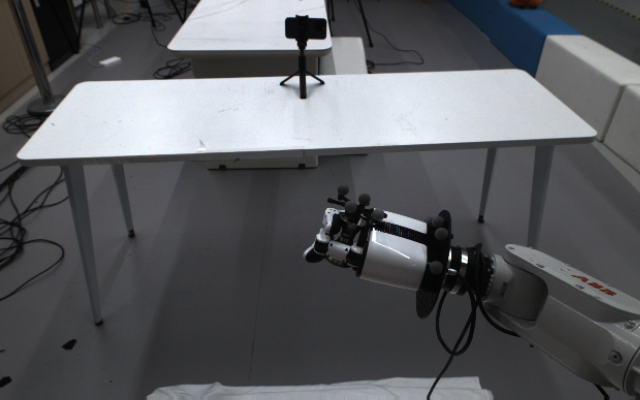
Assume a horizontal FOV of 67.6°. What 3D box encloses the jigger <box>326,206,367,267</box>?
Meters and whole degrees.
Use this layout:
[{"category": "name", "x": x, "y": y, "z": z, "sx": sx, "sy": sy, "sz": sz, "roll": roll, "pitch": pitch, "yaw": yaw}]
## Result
[{"category": "jigger", "x": 0.038, "y": 0.058, "z": 0.697, "sx": 0.043, "sy": 0.071, "sz": 0.043, "roll": 18, "pitch": 17, "yaw": -6}]
